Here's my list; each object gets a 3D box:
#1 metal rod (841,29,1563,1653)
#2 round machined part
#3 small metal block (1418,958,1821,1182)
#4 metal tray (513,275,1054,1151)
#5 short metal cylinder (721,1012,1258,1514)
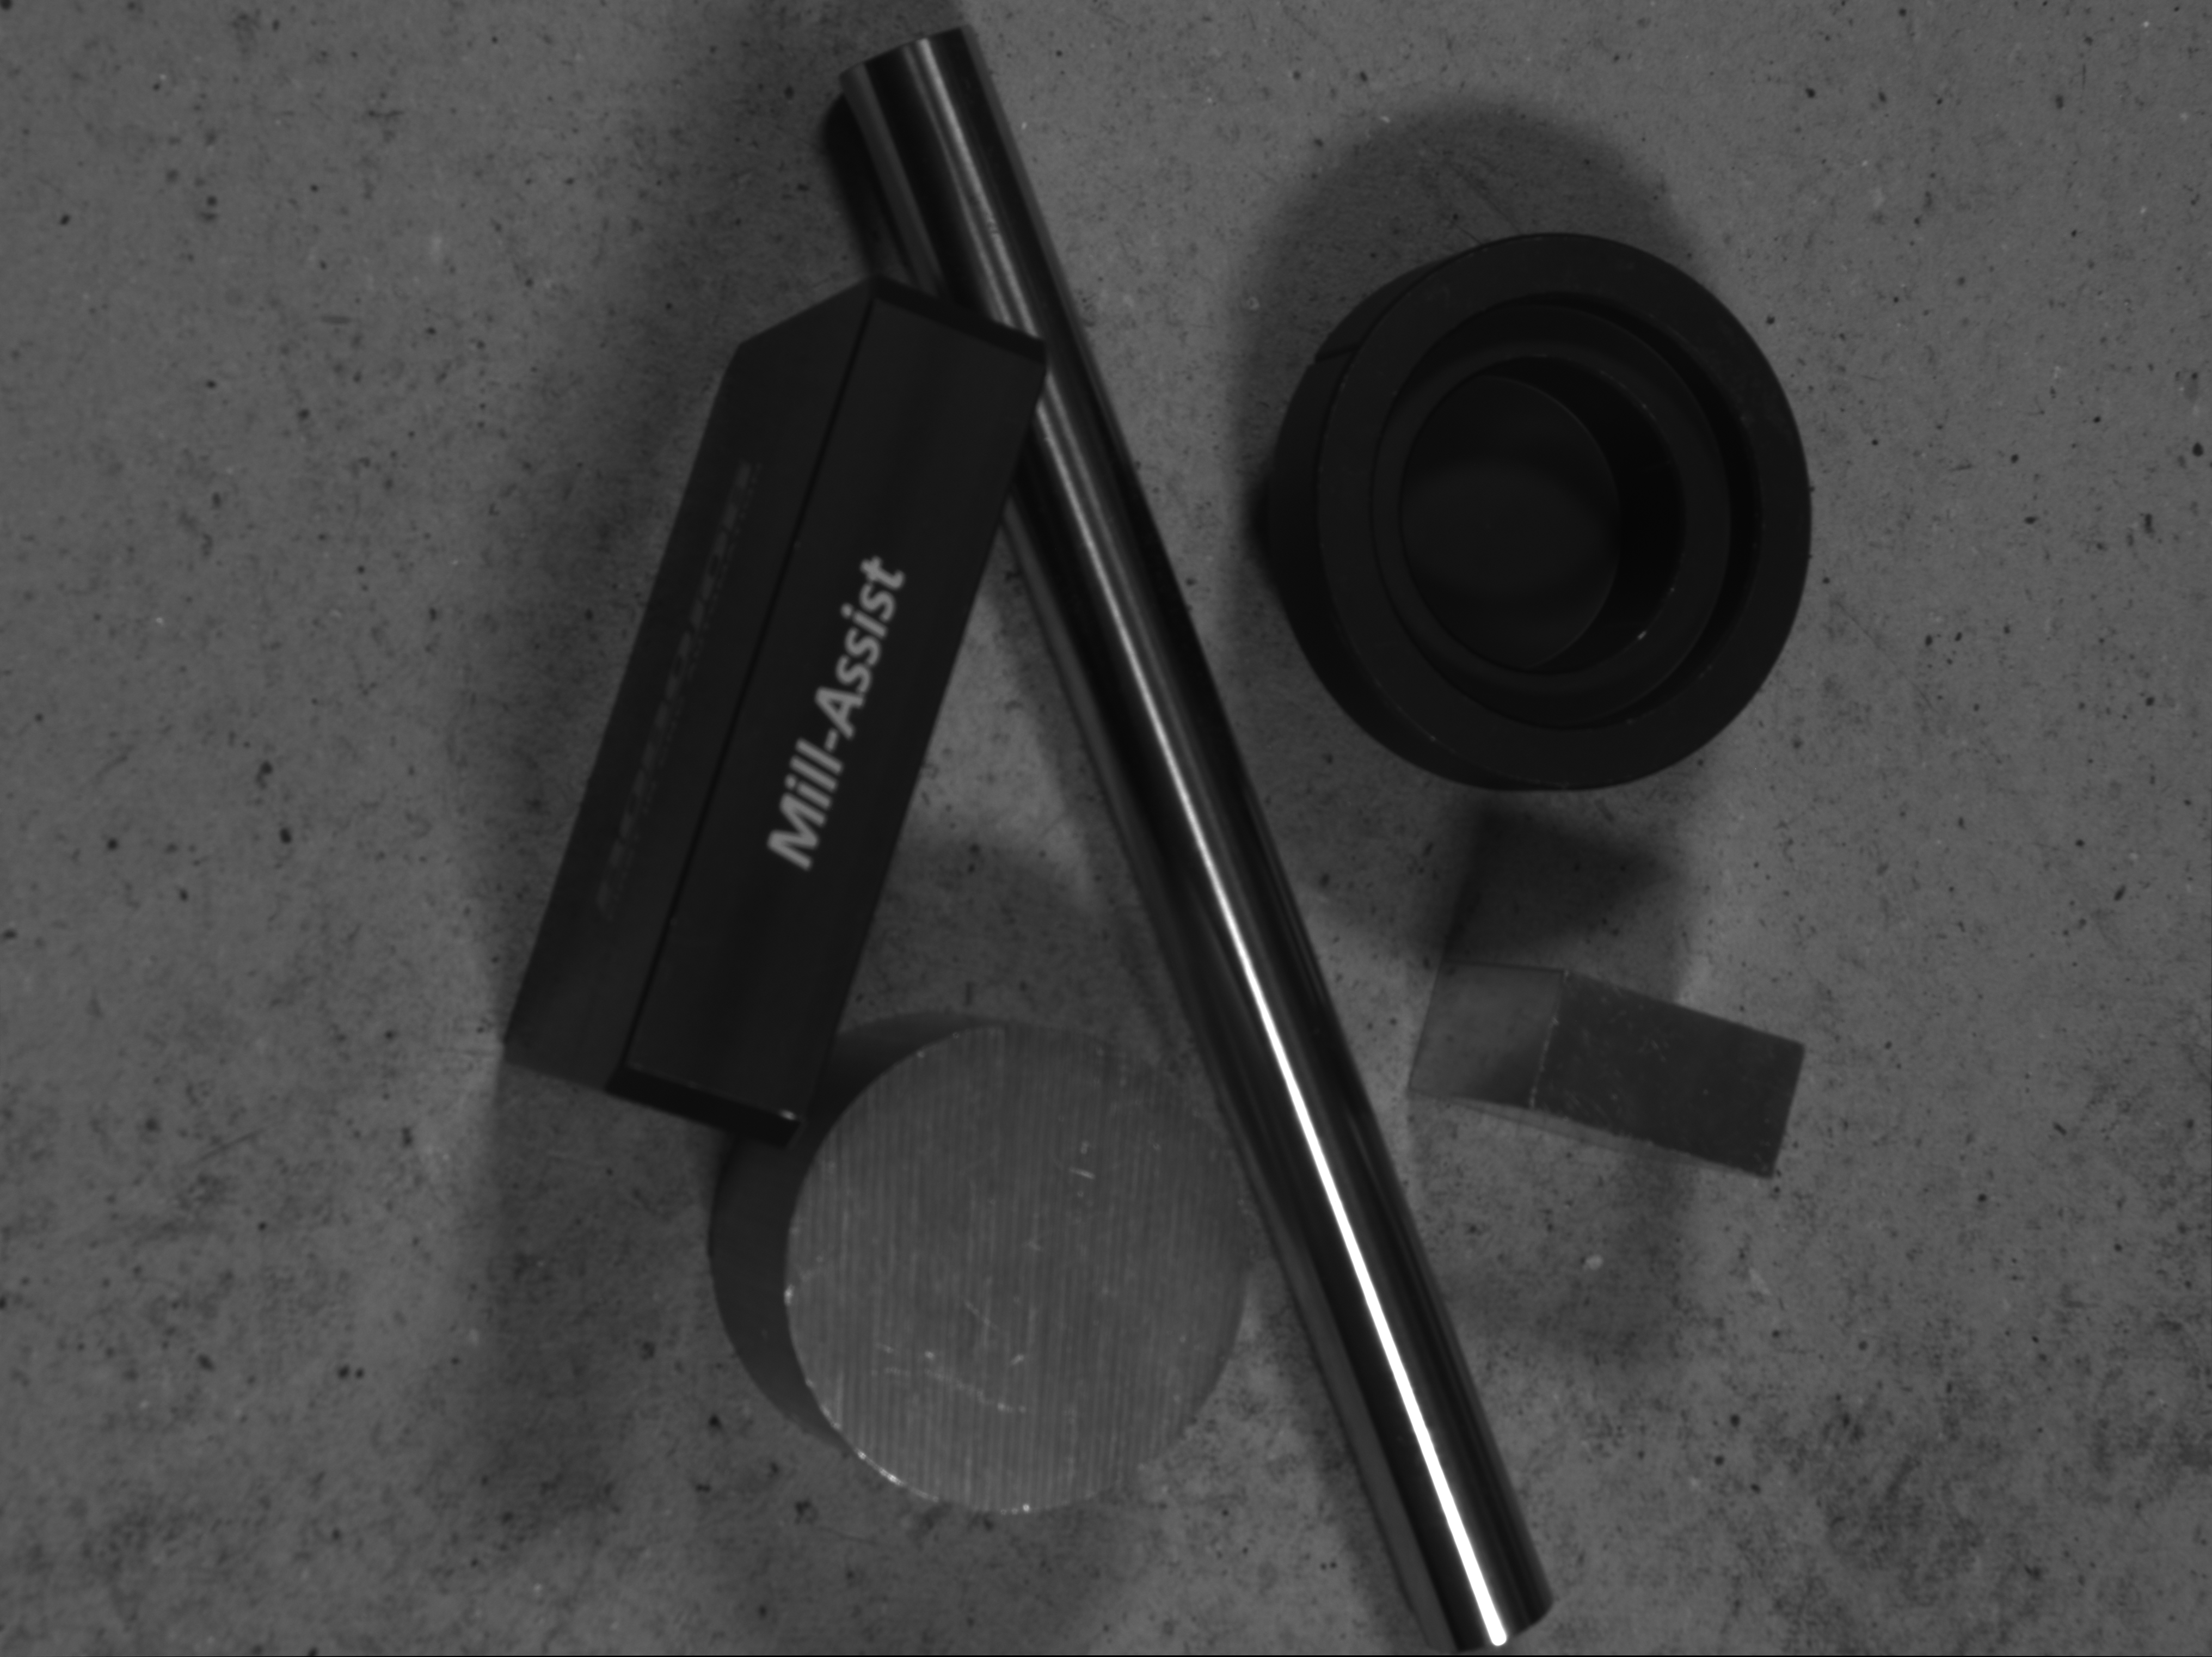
[{"bbox_3d":[0.019,0.006,0.651,0.025,0.025,0.300,-23,98,-18],"label":"metal rod"},{"bbox_3d":[0.076,-0.056,0.662,0.098,0.042,0.098,0,90,-20],"label":"round machined part"},{"bbox_3d":[0.092,0.043,0.661,0.050,0.050,0.025,18,84,-19],"label":"small metal block"},{"bbox_3d":[-0.054,-0.018,0.590,0.030,0.090,0.130,20,83,-19],"label":"metal tray"},{"bbox_3d":[-0.021,0.072,0.622,0.080,0.050,0.080,0,90,-20],"label":"short metal cylinder"}]
